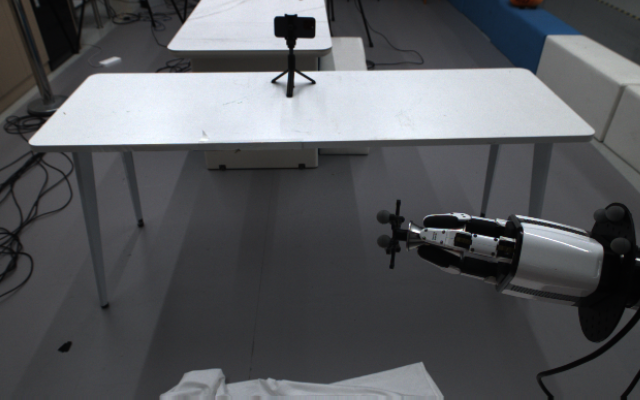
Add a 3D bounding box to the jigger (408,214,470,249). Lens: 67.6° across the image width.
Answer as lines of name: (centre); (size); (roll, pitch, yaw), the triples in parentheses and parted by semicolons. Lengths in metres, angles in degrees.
jigger: (0.152, 0.043, 0.605); (0.071, 0.043, 0.043); (4, 34, 18)
